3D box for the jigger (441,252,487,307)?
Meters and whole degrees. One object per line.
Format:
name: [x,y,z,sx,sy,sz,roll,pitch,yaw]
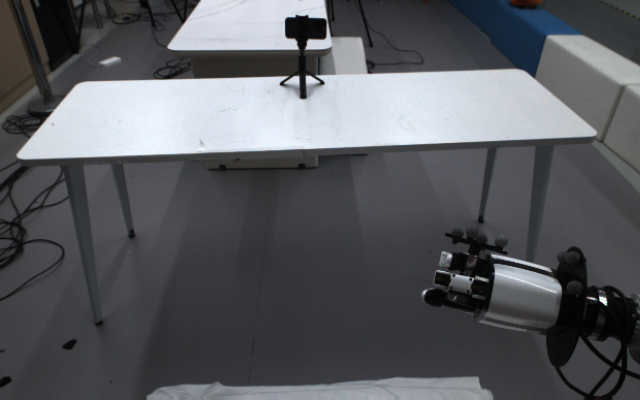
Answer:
jigger: [0.203,0.108,0.668,0.043,0.071,0.043,19,-6,2]
